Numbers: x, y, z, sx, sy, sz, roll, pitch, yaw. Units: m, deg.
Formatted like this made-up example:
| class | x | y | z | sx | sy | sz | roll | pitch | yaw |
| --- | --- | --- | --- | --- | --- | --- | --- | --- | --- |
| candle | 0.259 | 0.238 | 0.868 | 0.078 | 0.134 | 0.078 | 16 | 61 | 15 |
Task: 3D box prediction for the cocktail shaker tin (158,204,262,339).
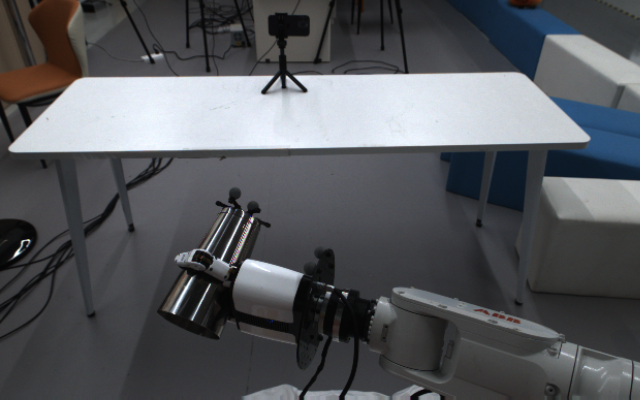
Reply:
| class | x | y | z | sx | sy | sz | roll | pitch | yaw |
| --- | --- | --- | --- | --- | --- | --- | --- | --- | --- |
| cocktail shaker tin | -0.148 | 0.098 | 0.681 | 0.093 | 0.093 | 0.170 | 14 | 62 | 17 |
